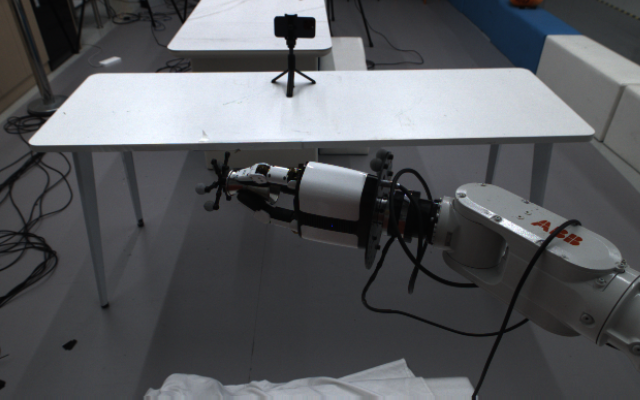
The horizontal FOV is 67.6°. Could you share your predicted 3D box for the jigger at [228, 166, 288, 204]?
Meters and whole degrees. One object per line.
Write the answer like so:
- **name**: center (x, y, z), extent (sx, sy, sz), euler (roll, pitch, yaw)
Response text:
- **jigger**: center (-0.090, -0.025, 0.696), extent (0.071, 0.043, 0.043), euler (10, 35, 16)
